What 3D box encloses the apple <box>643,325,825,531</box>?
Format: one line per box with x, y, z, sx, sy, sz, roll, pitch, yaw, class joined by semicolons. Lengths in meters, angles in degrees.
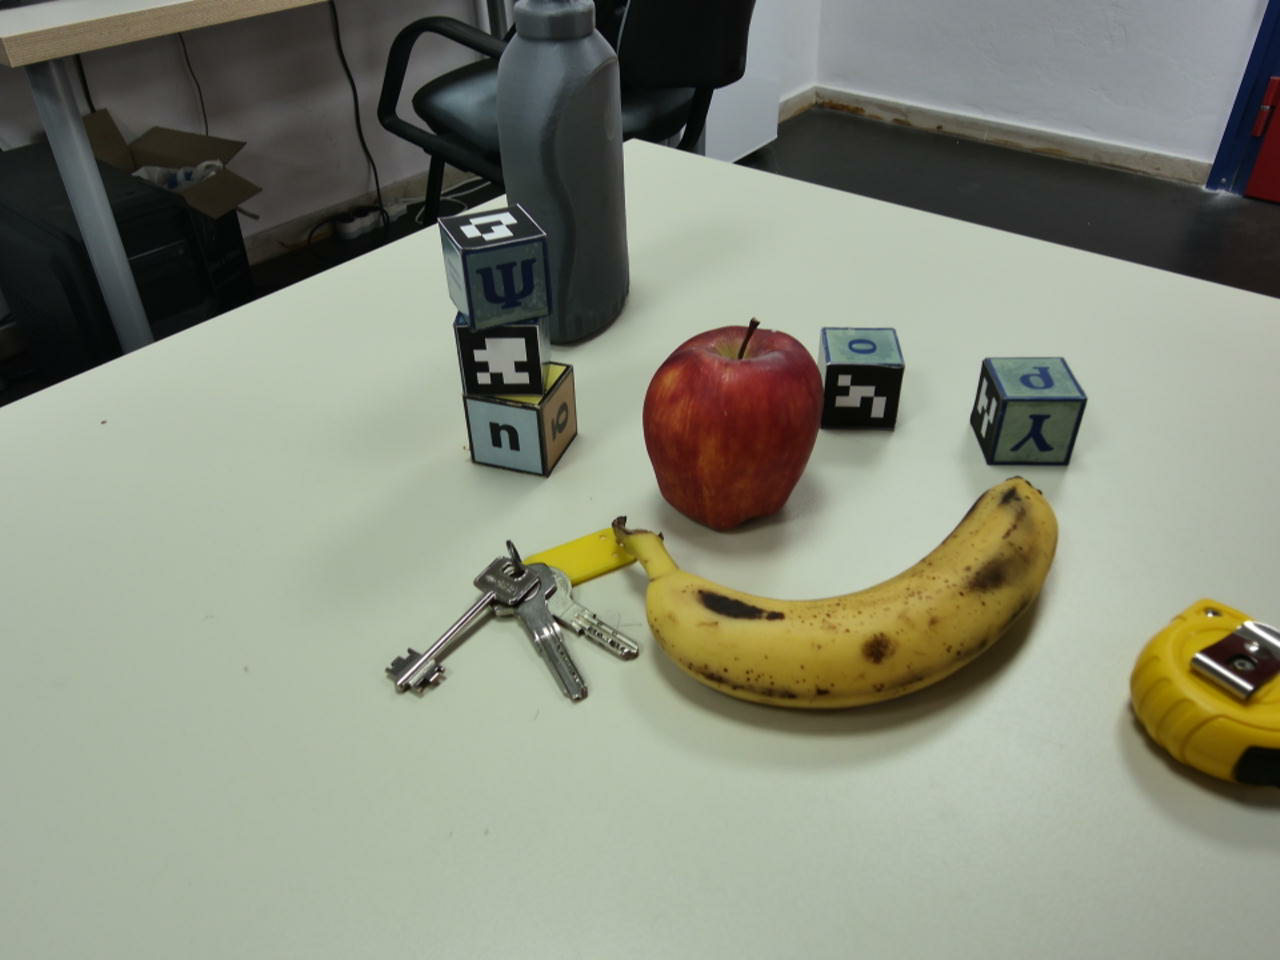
0.041;-0.029;0.433;0.083;0.090;0.083;-1;36;1;apple
